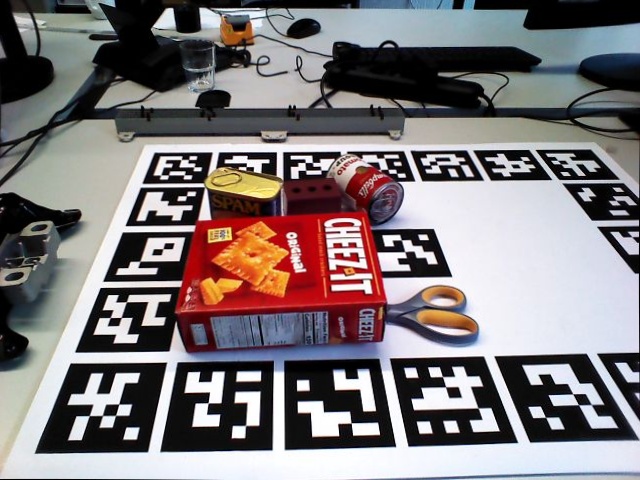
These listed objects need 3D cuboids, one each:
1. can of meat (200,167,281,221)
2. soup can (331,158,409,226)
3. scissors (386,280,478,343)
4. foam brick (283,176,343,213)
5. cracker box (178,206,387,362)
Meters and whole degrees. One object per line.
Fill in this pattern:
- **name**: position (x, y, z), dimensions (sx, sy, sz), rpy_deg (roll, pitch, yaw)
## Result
- **can of meat**: position (-0.104, -0.045, 0.695), dimensions (0.102, 0.084, 0.057), rpy_deg (9, 42, 8)
- **soup can**: position (0.071, -0.072, 0.757), dimensions (0.067, 0.068, 0.102), rpy_deg (-28, 43, -29)
- **scissors**: position (0.071, 0.085, 0.583), dimensions (0.203, 0.016, 0.087), rpy_deg (-4, 41, -5)
- **foam brick**: position (-0.010, -0.052, 0.735), dimensions (0.078, 0.051, 0.052), rpy_deg (-8, 42, -10)
- **cracker box**: position (-0.046, 0.040, 0.586), dimensions (0.214, 0.072, 0.163), rpy_deg (-7, 40, -3)
